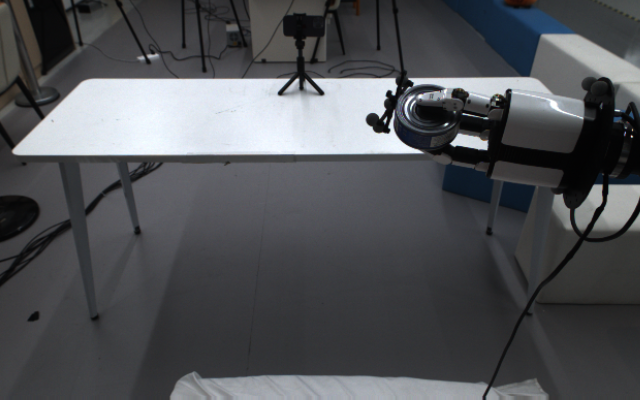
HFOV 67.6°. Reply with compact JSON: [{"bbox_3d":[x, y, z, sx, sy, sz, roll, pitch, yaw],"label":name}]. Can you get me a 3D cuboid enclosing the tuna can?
[{"bbox_3d":[0.141,-0.110,0.632,0.085,0.034,0.085,-1,61,1],"label":"tuna can"}]
